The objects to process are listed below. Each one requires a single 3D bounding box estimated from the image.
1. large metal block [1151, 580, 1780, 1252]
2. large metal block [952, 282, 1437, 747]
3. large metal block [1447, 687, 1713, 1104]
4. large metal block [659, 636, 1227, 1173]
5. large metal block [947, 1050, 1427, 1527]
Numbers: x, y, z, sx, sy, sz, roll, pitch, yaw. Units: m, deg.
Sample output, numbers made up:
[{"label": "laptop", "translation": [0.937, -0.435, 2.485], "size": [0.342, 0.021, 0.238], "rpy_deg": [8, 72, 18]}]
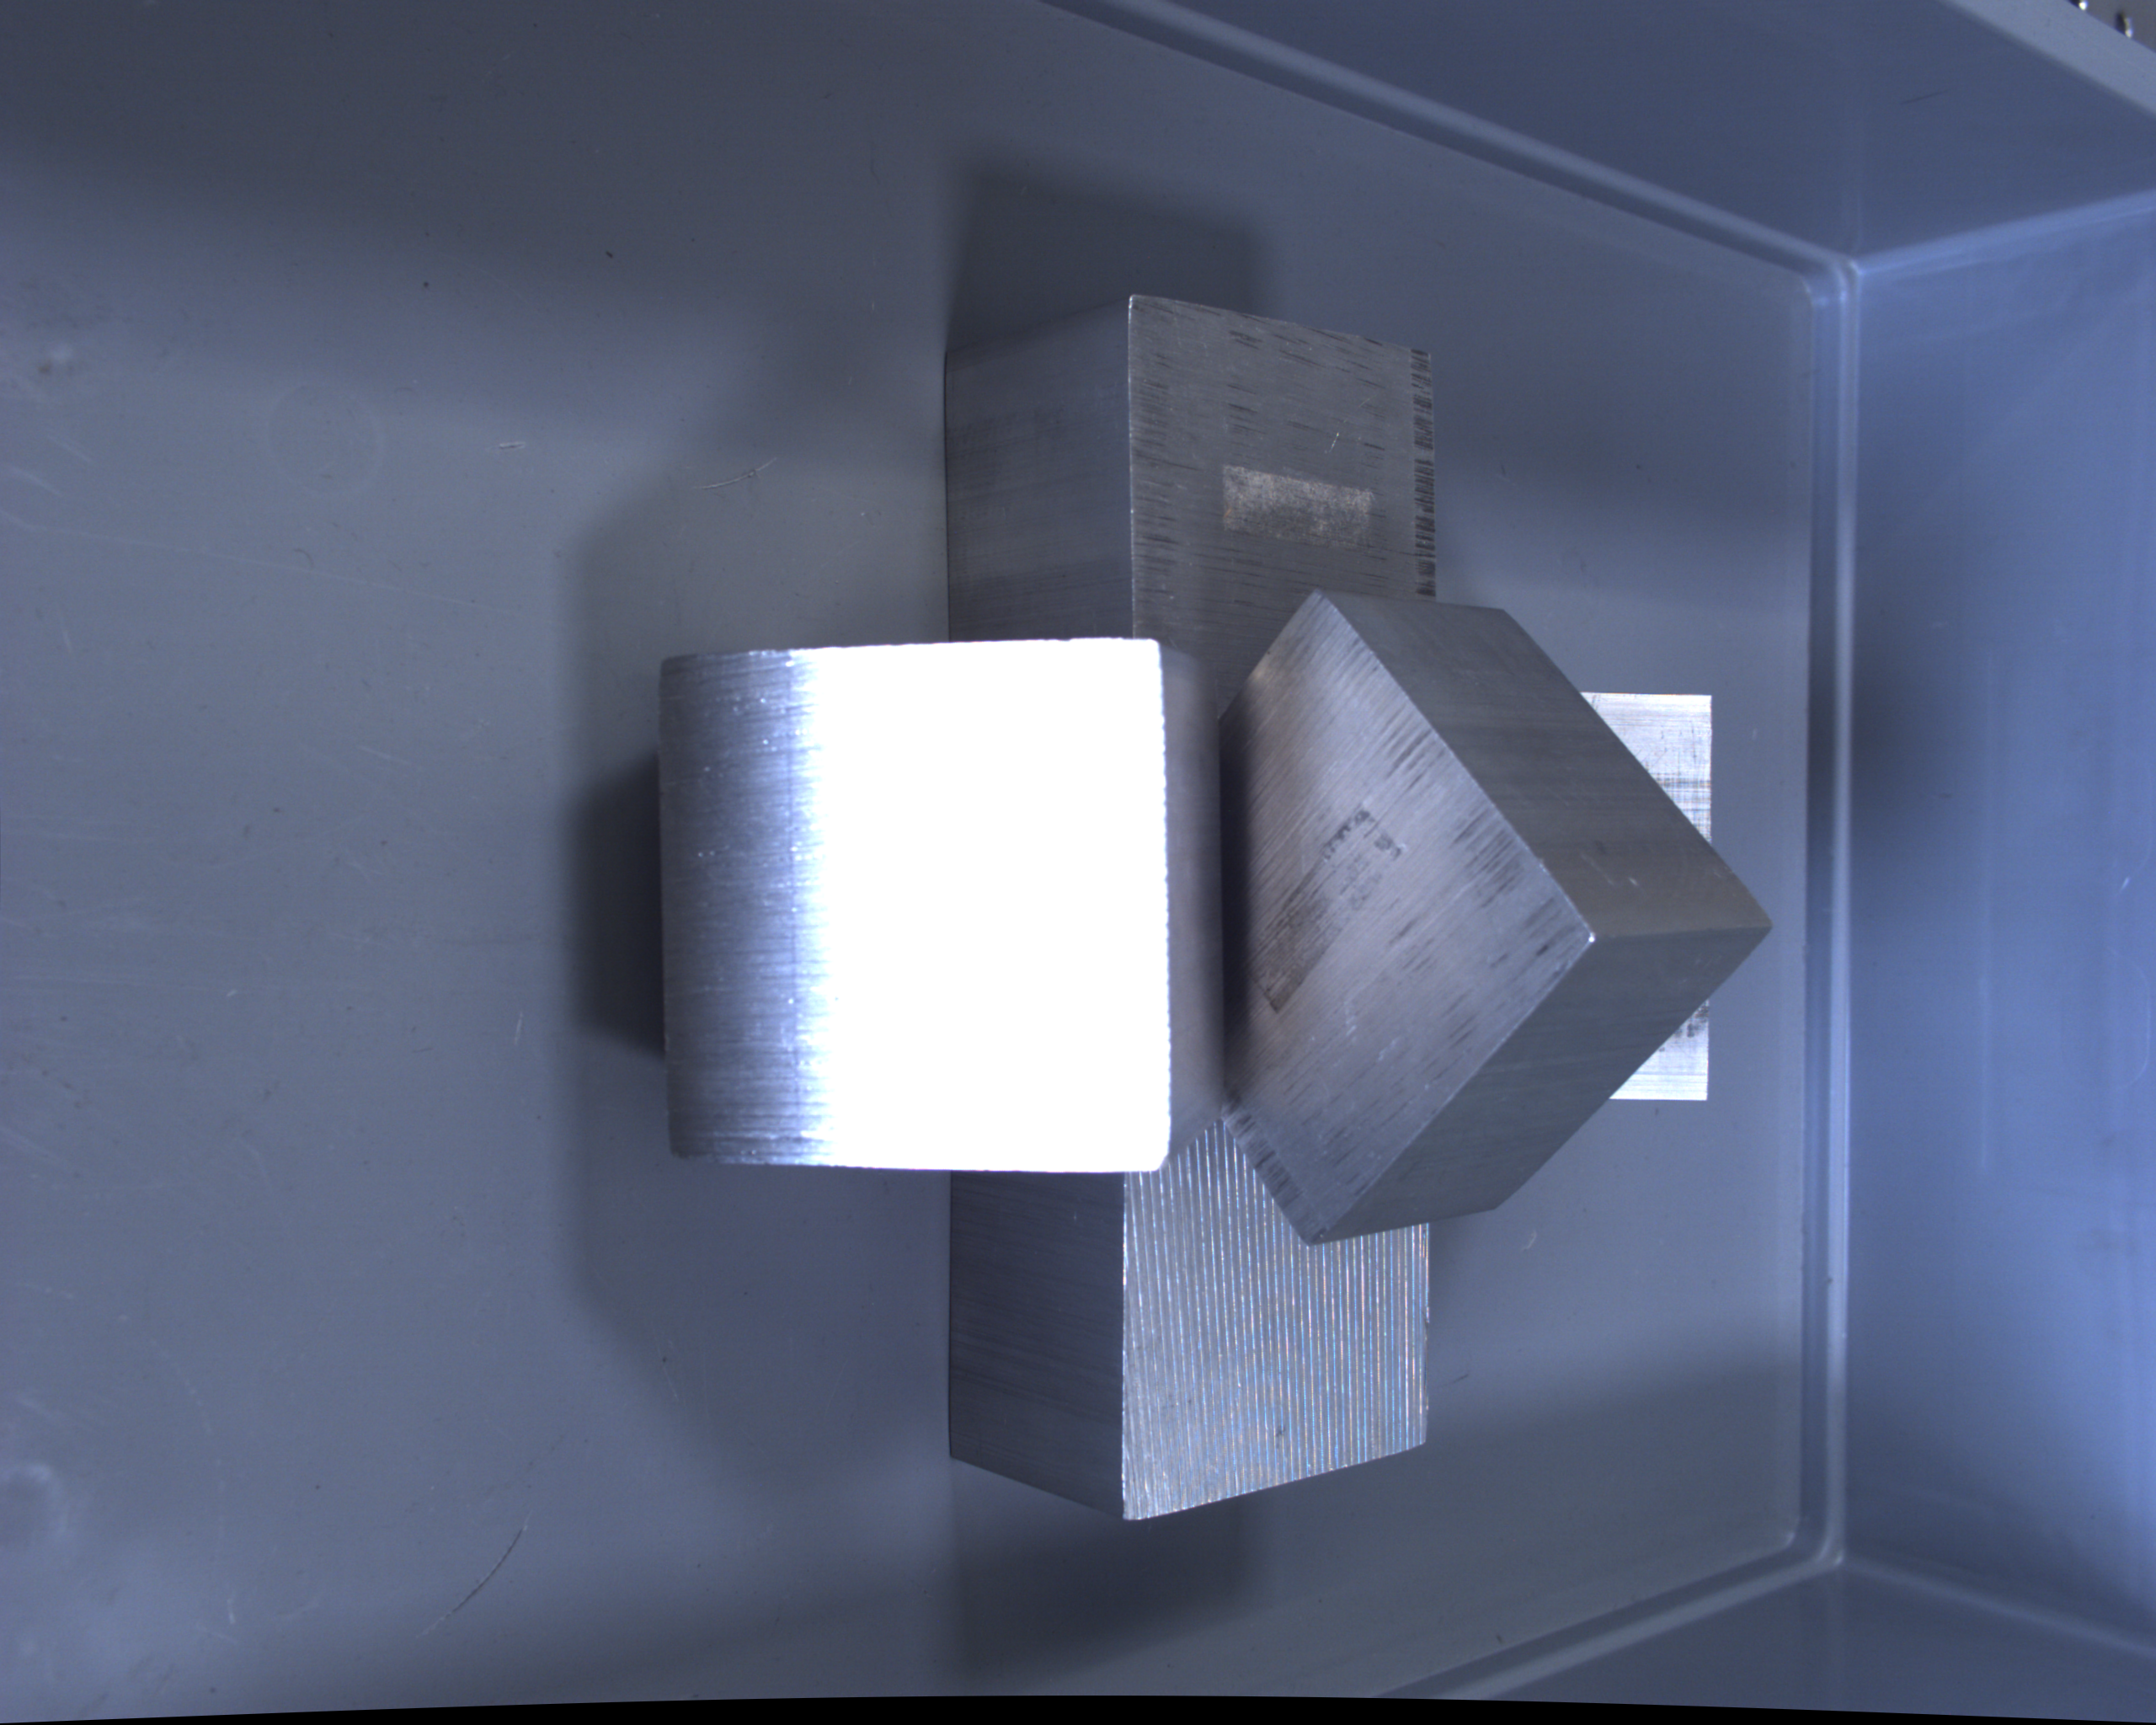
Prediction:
[{"label": "large metal block", "translation": [0.058, 0.009, 0.366], "size": [0.050, 0.080, 0.080], "rpy_deg": [-1, 47, -41]}, {"label": "large metal block", "translation": [0.024, -0.062, 0.405], "size": [0.081, 0.050, 0.079], "rpy_deg": [-2, 92, -40]}, {"label": "large metal block", "translation": [0.095, 0.006, 0.439], "size": [0.050, 0.080, 0.080], "rpy_deg": [1, 90, -1]}, {"label": "large metal block", "translation": [-0.020, 0.006, 0.342], "size": [0.050, 0.080, 0.079], "rpy_deg": [-6, 96, -76]}, {"label": "large metal block", "translation": [0.022, 0.076, 0.408], "size": [0.081, 0.050, 0.080], "rpy_deg": [1, 90, -40]}]
